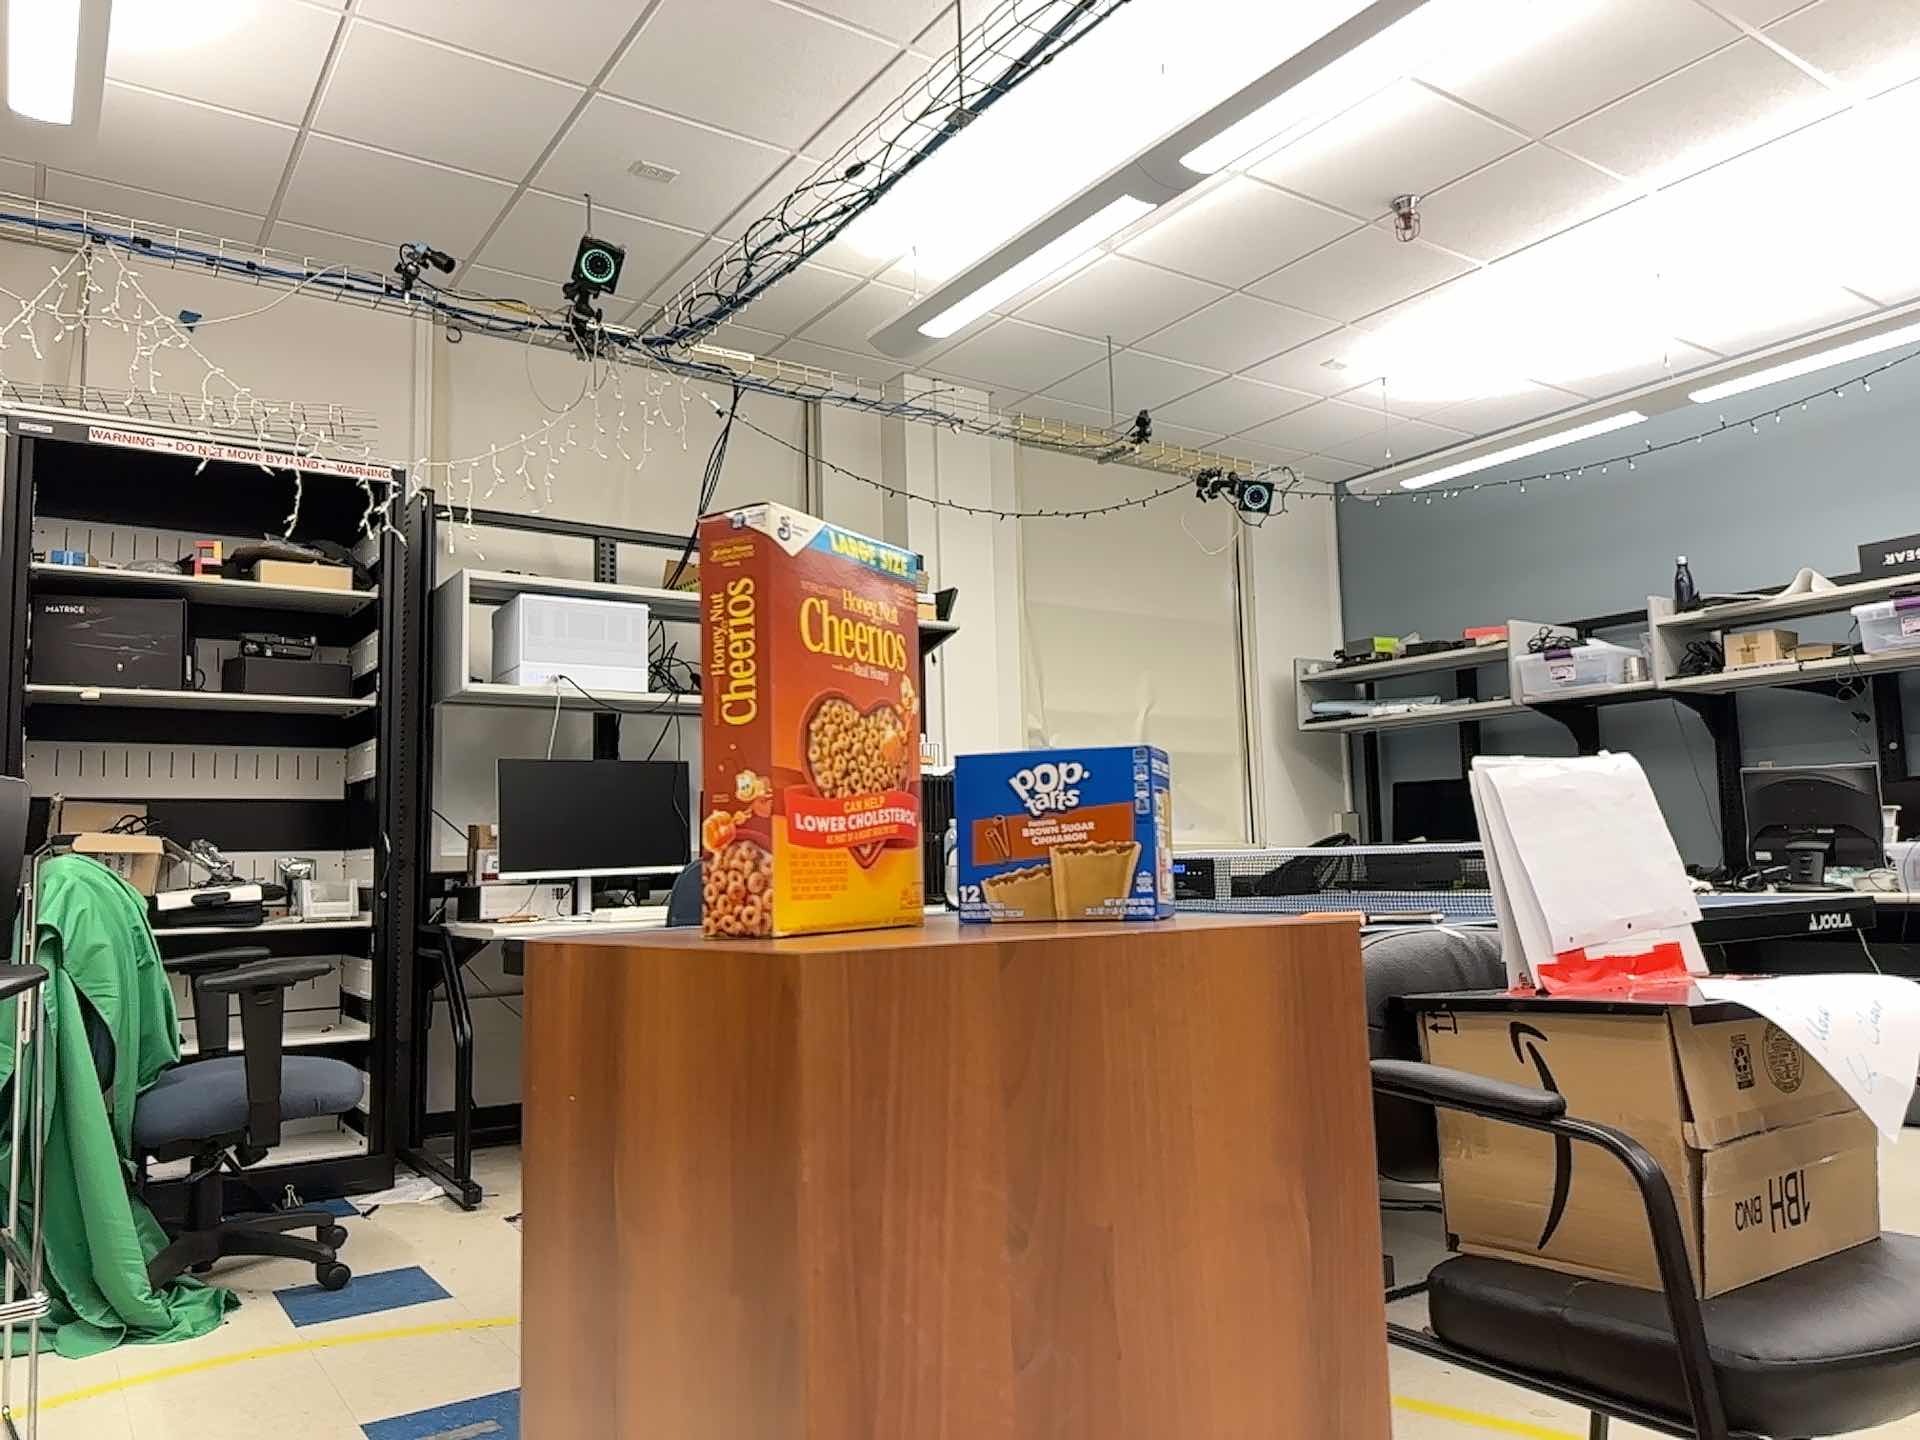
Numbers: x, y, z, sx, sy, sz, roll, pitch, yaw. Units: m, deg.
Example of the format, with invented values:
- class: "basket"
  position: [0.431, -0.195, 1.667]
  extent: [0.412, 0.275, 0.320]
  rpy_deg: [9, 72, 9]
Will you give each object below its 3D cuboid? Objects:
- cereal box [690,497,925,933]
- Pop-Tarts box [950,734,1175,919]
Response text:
- class: "cereal box"
  position: [-0.110, 0.003, 1.019]
  extent: [0.065, 0.297, 0.195]
  rpy_deg: [-6, -8, 26]
- class: "Pop-Tarts box"
  position: [0.084, 0.090, 1.106]
  extent: [0.161, 0.135, 0.075]
  rpy_deg: [-4, -9, 17]
